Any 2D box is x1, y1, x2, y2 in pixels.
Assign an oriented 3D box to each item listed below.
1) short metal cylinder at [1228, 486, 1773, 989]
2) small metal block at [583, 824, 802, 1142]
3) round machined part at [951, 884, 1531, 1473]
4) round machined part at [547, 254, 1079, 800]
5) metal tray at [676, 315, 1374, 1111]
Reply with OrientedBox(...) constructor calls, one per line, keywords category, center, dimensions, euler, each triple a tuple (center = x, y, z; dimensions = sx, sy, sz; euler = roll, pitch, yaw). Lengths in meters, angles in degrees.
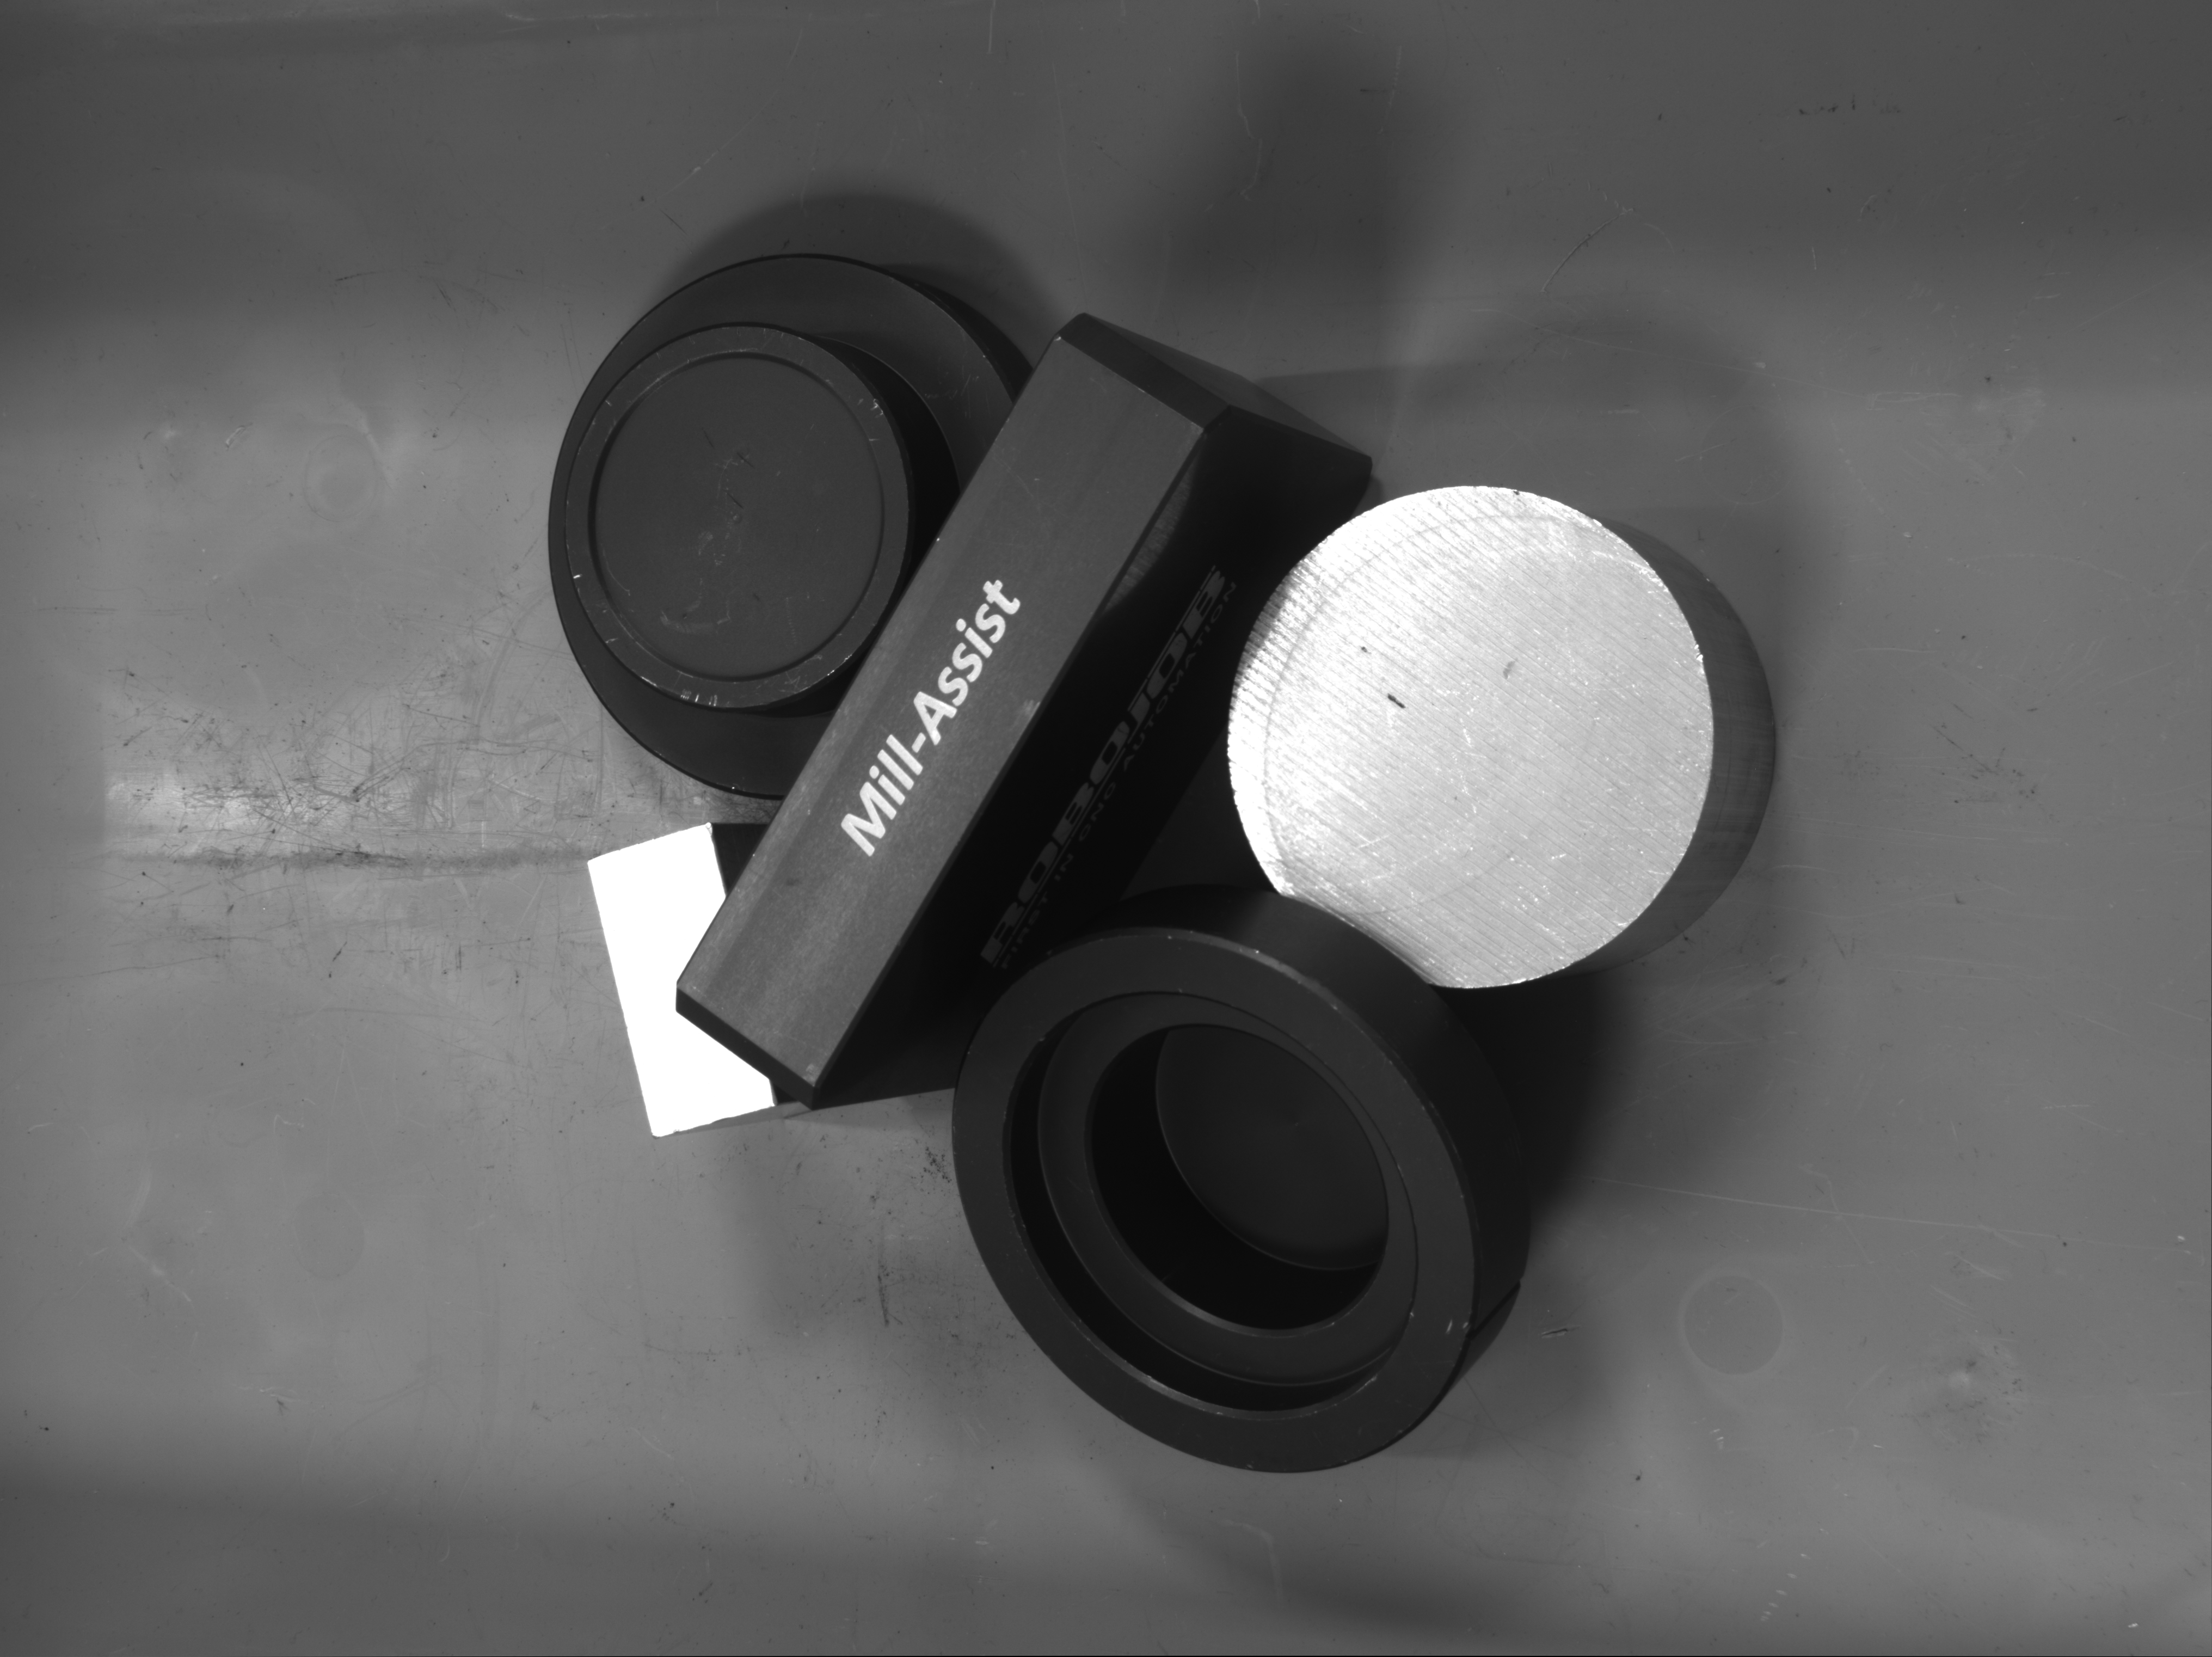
OrientedBox(category="short metal cylinder", center=(0.066, -0.014, 0.608), dimensions=(0.080, 0.050, 0.080), euler=(0, 90, 20))
OrientedBox(category="small metal block", center=(-0.065, 0.027, 0.655), dimensions=(0.025, 0.050, 0.050), euler=(-16, 84, 19))
OrientedBox(category="round machined part", center=(0.026, 0.055, 0.614), dimensions=(0.098, 0.042, 0.098), euler=(13, 117, 26))
OrientedBox(category="round machined part", center=(-0.057, -0.054, 0.656), dimensions=(0.098, 0.042, 0.098), euler=(0, 90, 20))
OrientedBox(category="metal tray", center=(-0.012, -0.017, 0.615), dimensions=(0.030, 0.090, 0.130), euler=(34, 101, 17))
